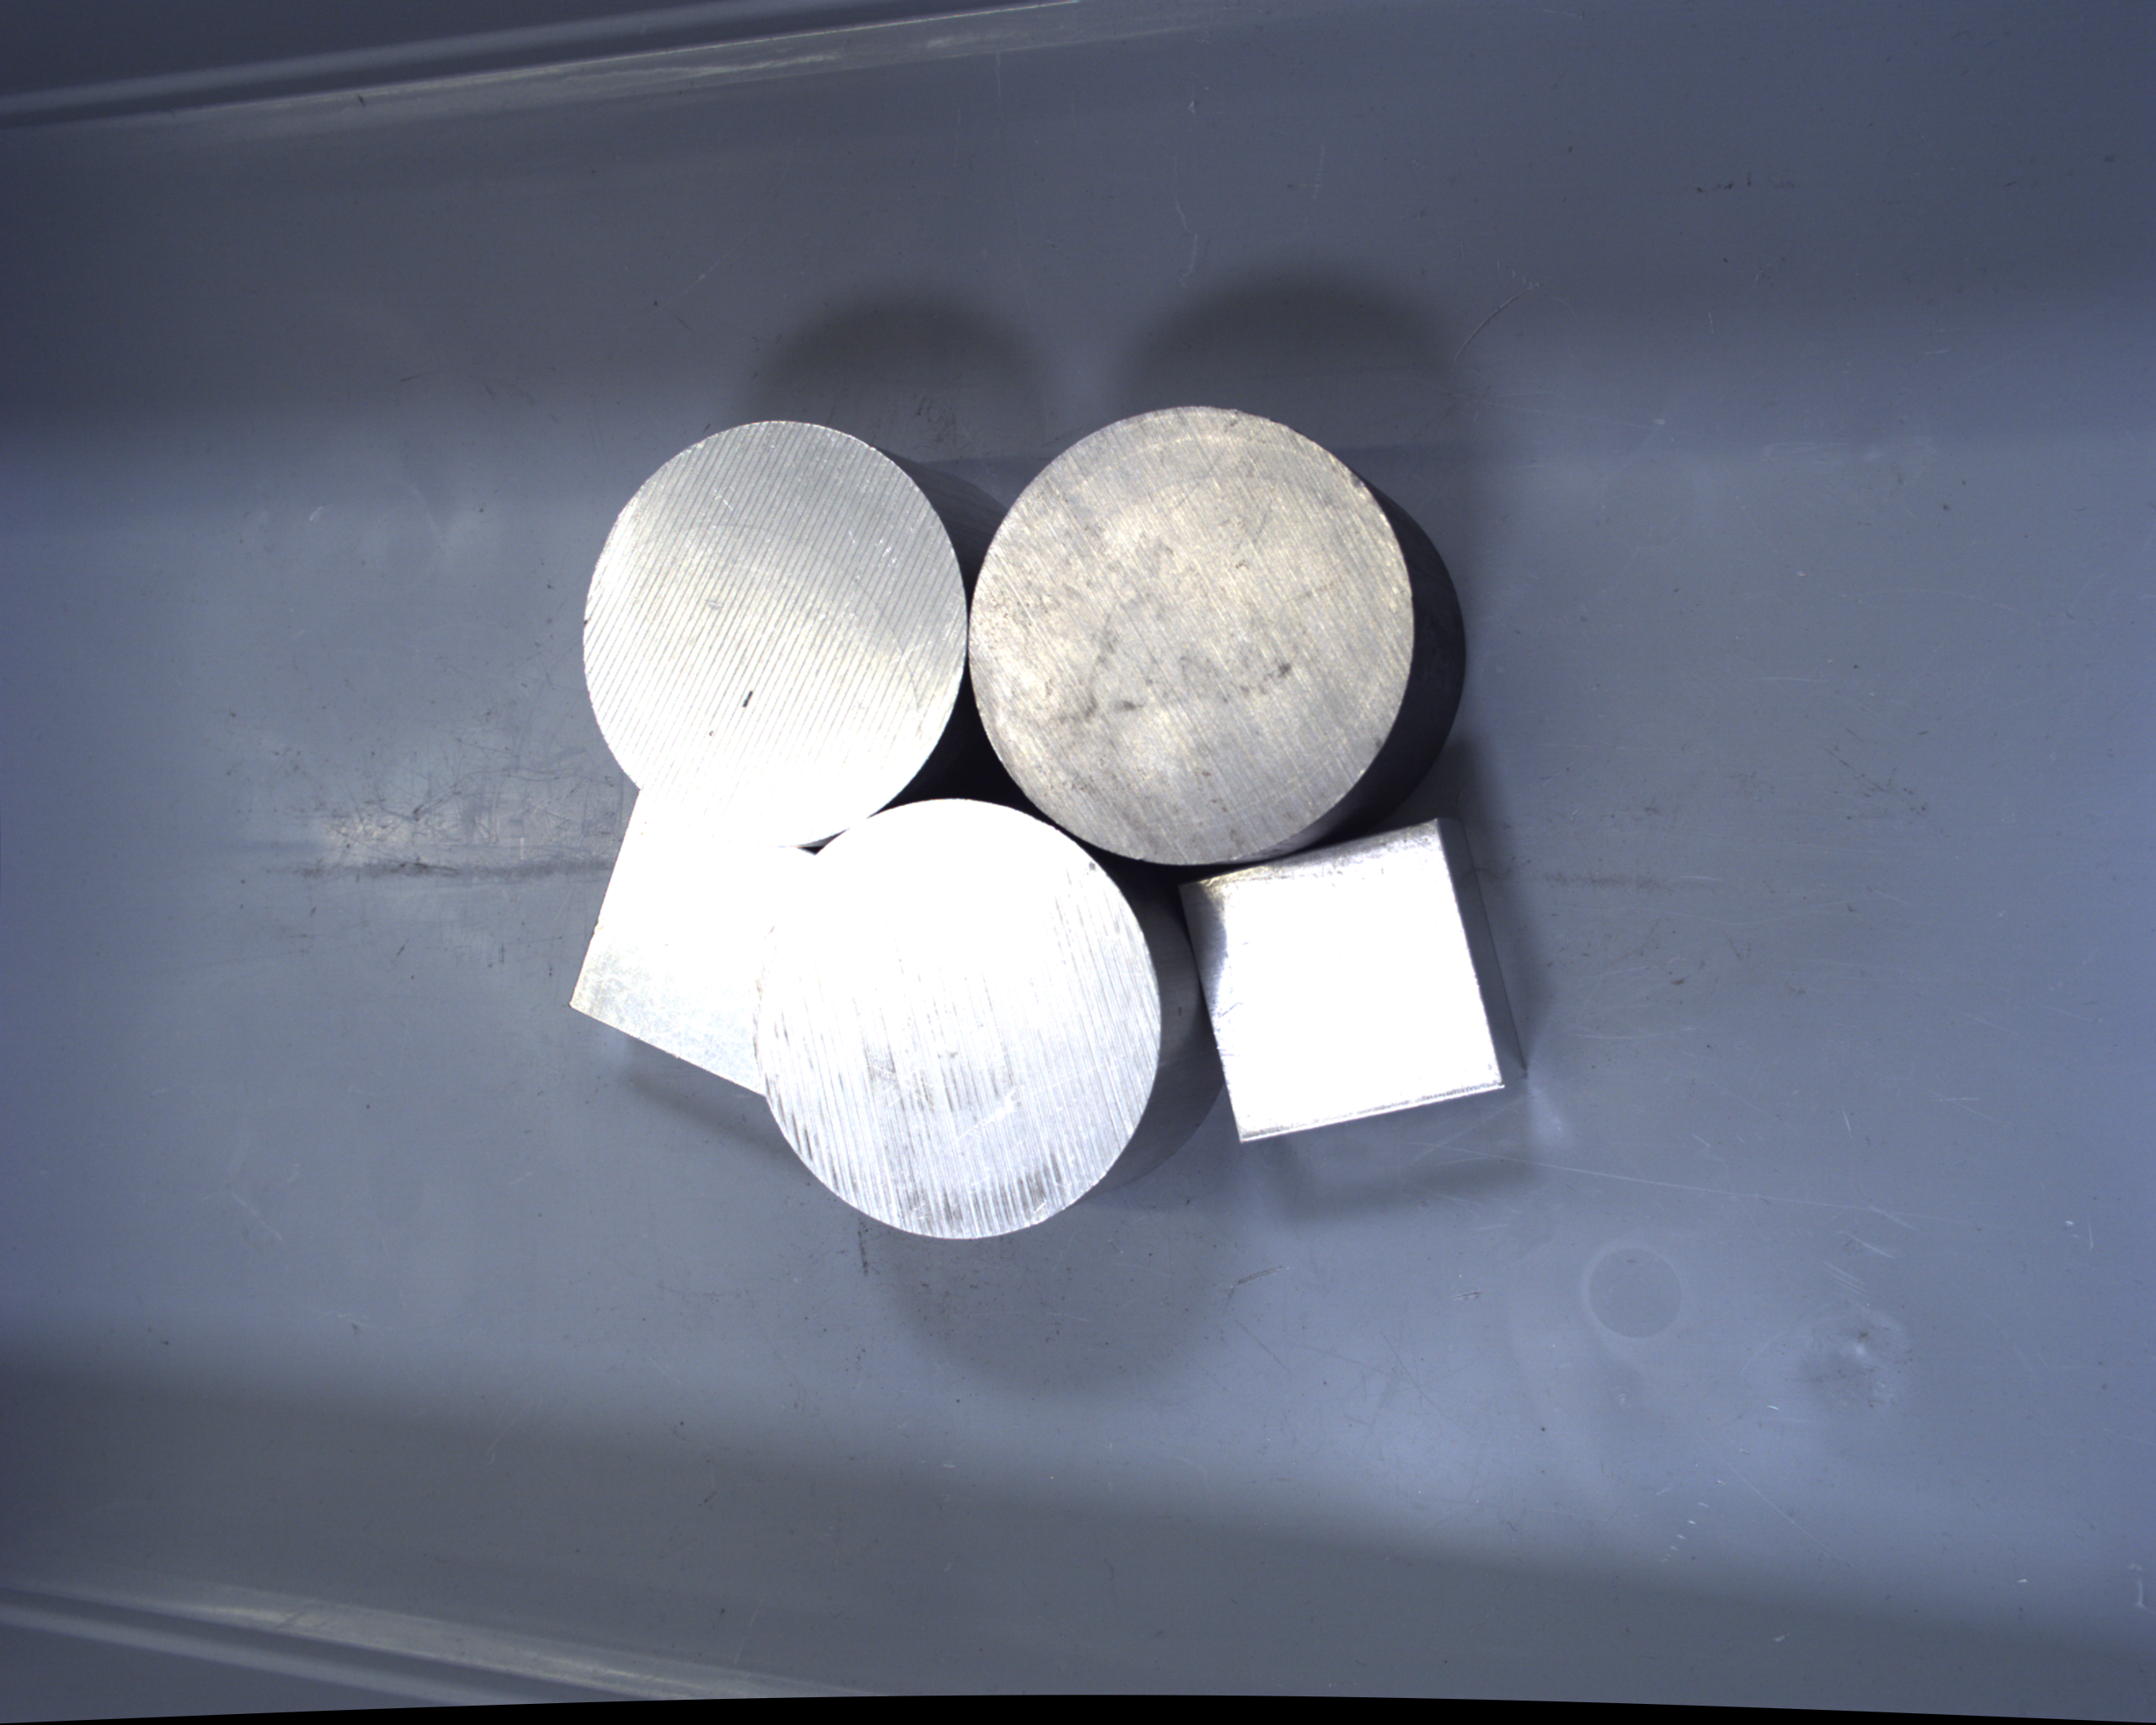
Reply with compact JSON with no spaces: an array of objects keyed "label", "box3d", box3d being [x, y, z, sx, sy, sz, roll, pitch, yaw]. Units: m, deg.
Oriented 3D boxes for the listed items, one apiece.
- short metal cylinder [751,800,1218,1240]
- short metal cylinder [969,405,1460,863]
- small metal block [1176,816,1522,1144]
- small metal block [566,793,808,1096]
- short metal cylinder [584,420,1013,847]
[{"label":"short metal cylinder","box3d":[-0.015,0.028,0.401,0.080,0.050,0.079,0,90,20]},{"label":"short metal cylinder","box3d":[0.027,-0.040,0.386,0.080,0.050,0.079,0,90,20]},{"label":"small metal block","box3d":[0.051,0.022,0.391,0.050,0.025,0.050,-15,85,19]},{"label":"small metal block","box3d":[-0.072,0.015,0.434,0.050,0.025,0.050,22,97,18]},{"label":"short metal cylinder","box3d":[-0.049,-0.043,0.413,0.080,0.050,0.079,0,90,20]}]
